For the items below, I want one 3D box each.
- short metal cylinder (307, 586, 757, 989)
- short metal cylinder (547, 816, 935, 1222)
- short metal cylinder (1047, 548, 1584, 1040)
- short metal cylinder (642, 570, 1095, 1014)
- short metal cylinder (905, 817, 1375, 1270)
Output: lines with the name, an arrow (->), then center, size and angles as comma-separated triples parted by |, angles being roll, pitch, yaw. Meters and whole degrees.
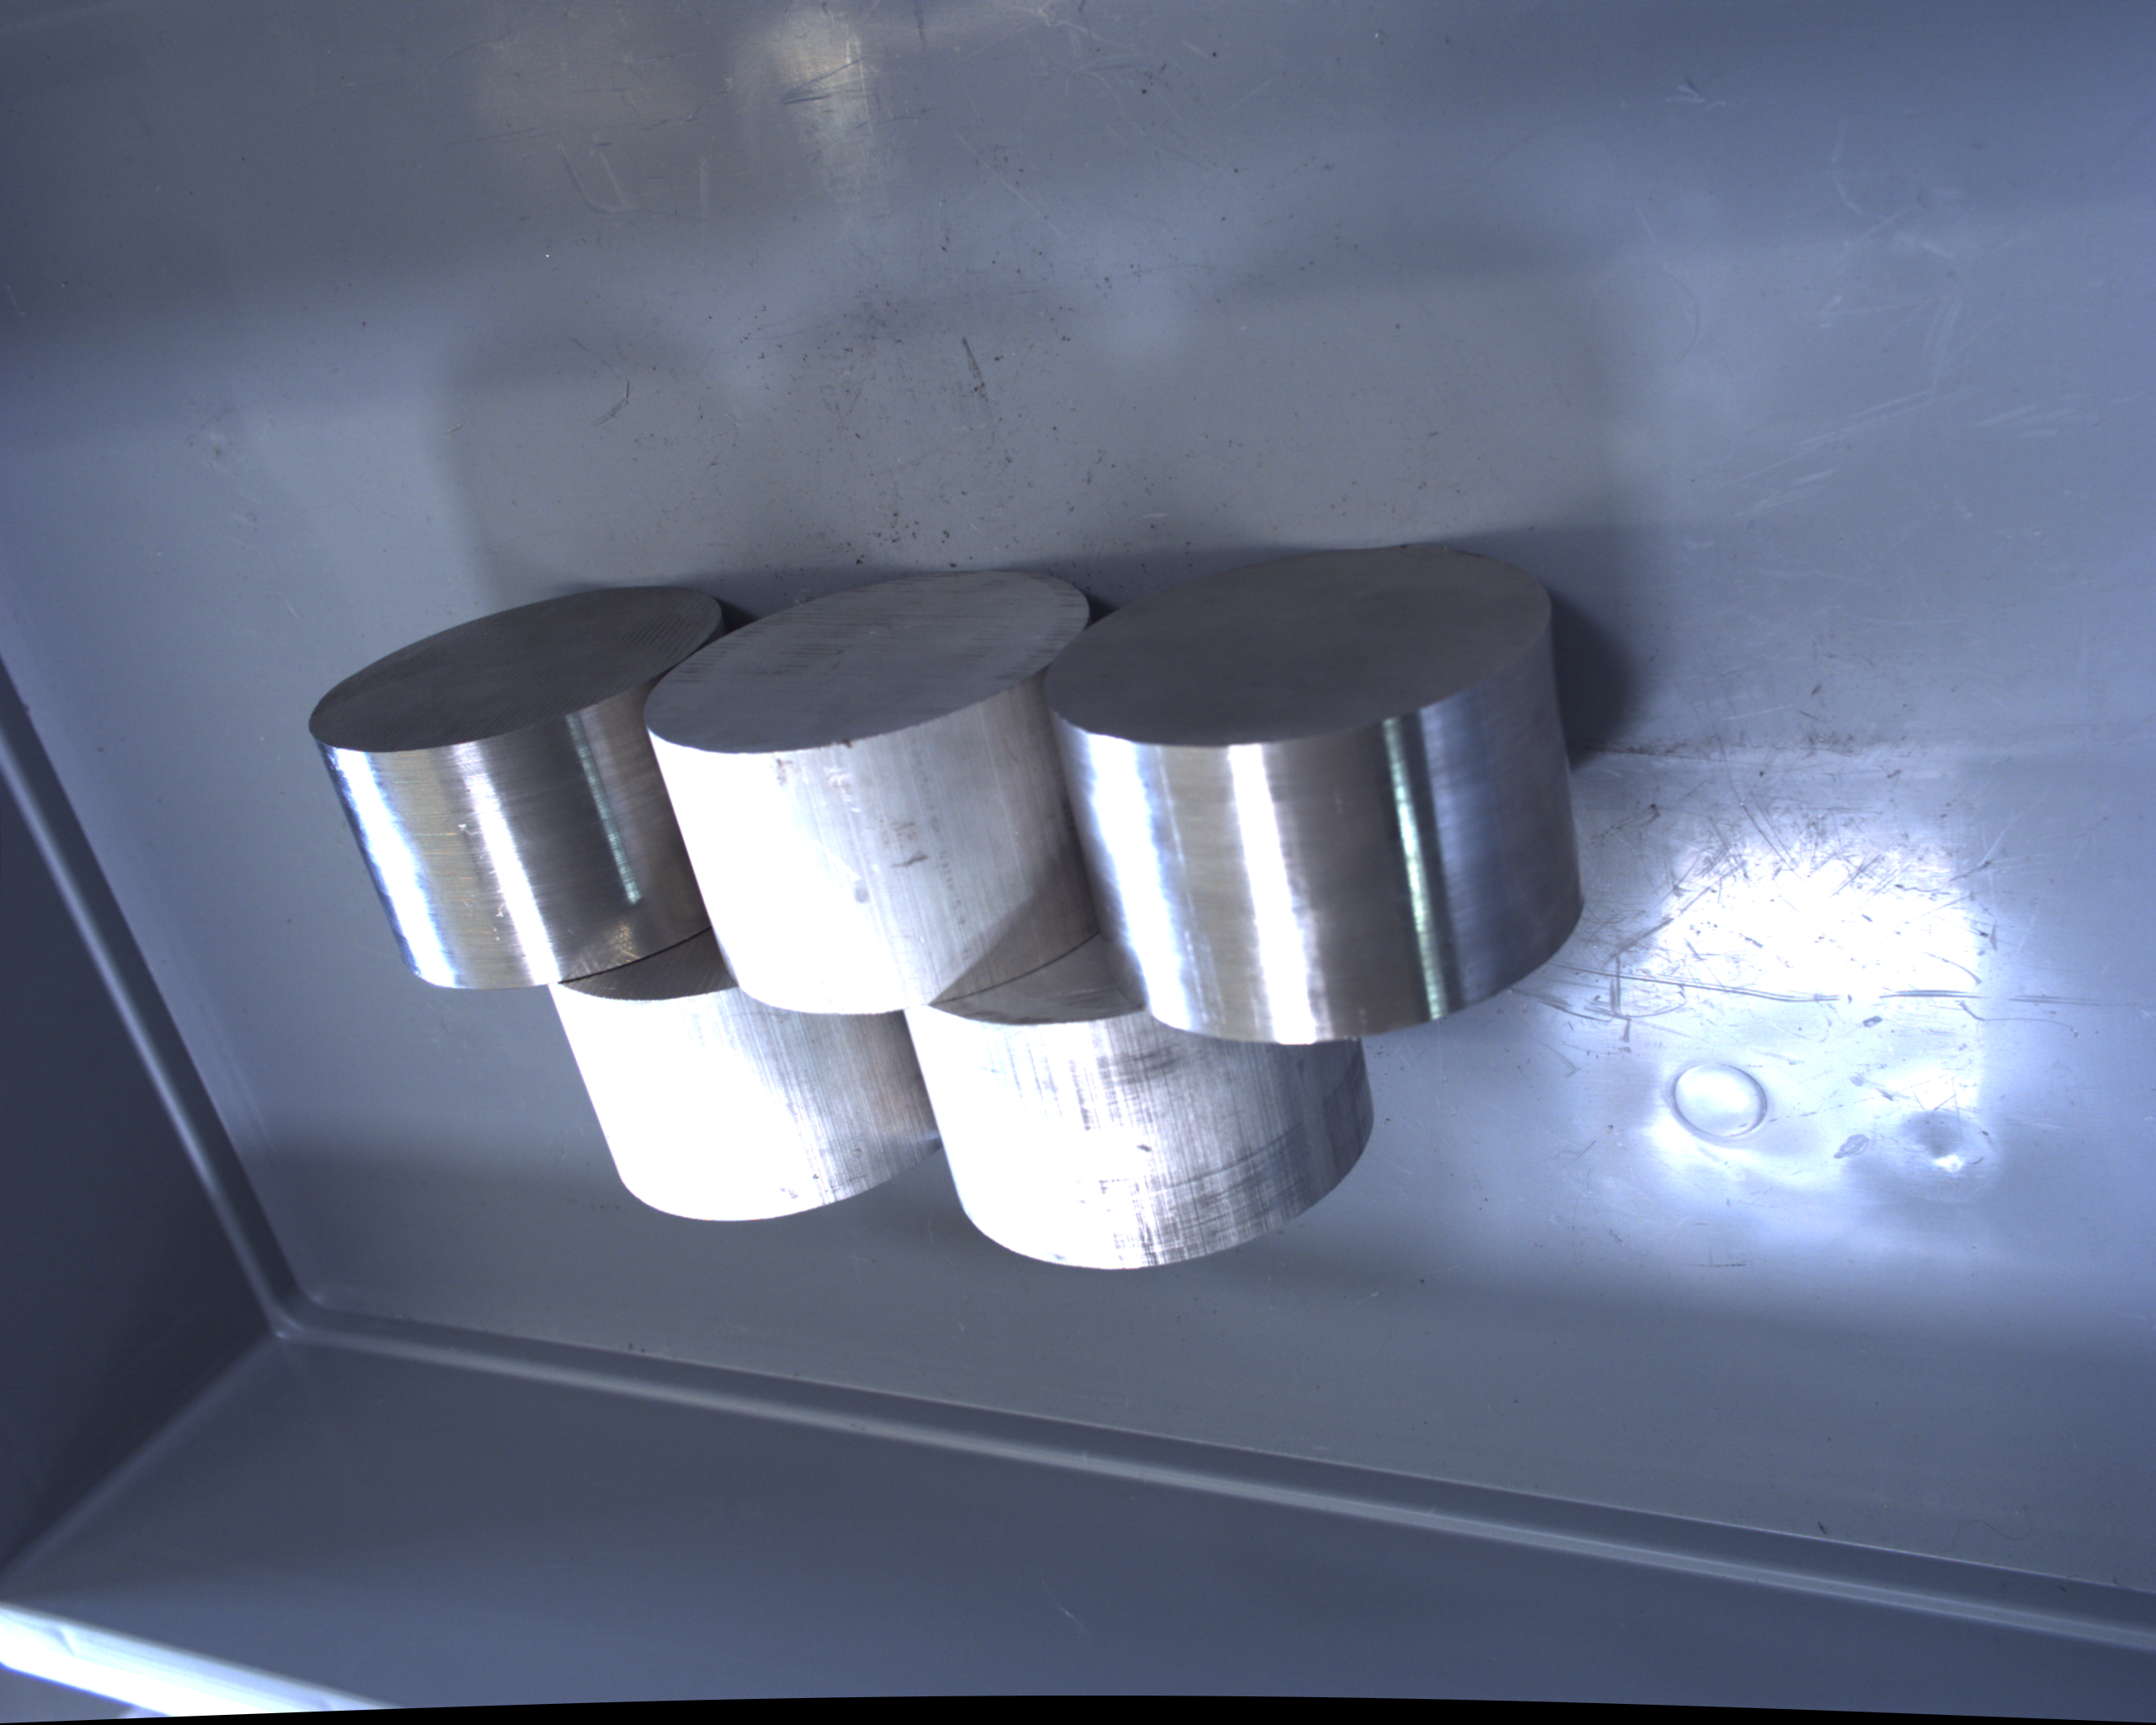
short metal cylinder -> -0.104, -0.017, 0.415 | 0.080, 0.080, 0.050 | 1, 119, 28
short metal cylinder -> -0.062, 0.028, 0.421 | 0.080, 0.080, 0.050 | 1, 119, 28
short metal cylinder -> 0.039, -0.014, 0.342 | 0.080, 0.080, 0.050 | 2, 119, 27
short metal cylinder -> -0.032, -0.015, 0.379 | 0.080, 0.080, 0.050 | 1, 119, 28
short metal cylinder -> 0.011, 0.030, 0.384 | 0.080, 0.080, 0.050 | 1, 119, 28
